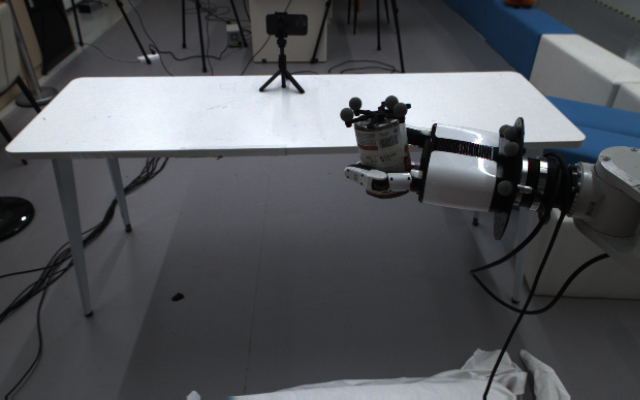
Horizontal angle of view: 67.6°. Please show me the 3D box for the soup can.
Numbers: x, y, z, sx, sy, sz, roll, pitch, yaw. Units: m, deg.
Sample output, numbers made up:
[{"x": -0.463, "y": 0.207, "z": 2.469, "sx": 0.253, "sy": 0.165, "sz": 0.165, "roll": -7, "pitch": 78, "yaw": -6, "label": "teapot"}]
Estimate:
[{"x": 0.088, "y": -0.062, "z": 0.645, "sx": 0.067, "sy": 0.101, "sz": 0.067, "roll": -11, "pitch": 27, "yaw": 6, "label": "soup can"}]
